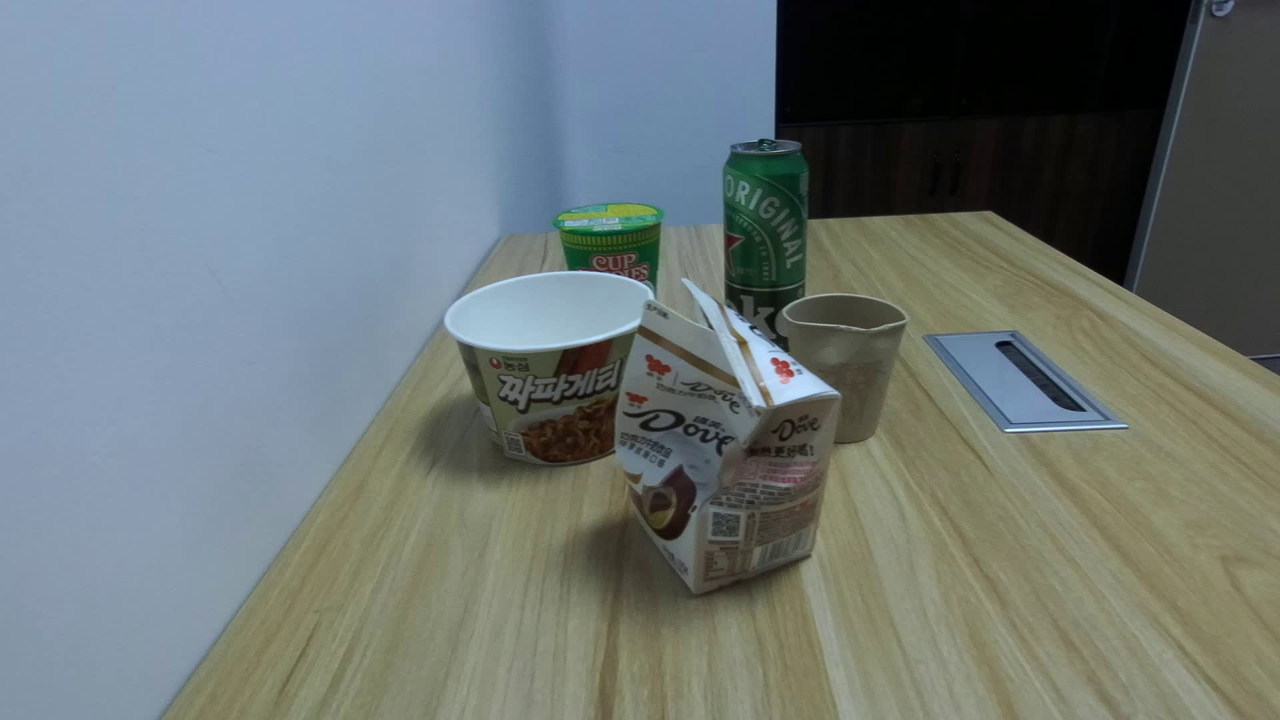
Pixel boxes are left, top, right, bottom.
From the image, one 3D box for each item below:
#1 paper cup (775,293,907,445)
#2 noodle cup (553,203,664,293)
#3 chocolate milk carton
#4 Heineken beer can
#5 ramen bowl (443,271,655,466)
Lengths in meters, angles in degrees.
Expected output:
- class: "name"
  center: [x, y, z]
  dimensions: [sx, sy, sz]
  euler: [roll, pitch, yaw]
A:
- class: "paper cup"
  center: [0.133, 0.006, 0.472]
  dimensions: [0.074, 0.081, 0.068]
  euler: [-15, 27, -27]
- class: "noodle cup"
  center: [-0.022, -0.075, 0.633]
  dimensions: [0.097, 0.110, 0.097]
  euler: [-3, 25, 2]
- class: "chocolate milk carton"
  center: [0.040, 0.039, 0.350]
  dimensions: [0.077, 0.156, 0.089]
  euler: [-19, 42, -20]
- class: "Heineken beer can"
  center: [0.103, -0.086, 0.573]
  dimensions: [0.067, 0.169, 0.067]
  euler: [-3, 24, 2]
- class: "ramen bowl"
  center: [-0.054, 0.005, 0.491]
  dimensions: [0.140, 0.095, 0.140]
  euler: [-2, 24, 1]
